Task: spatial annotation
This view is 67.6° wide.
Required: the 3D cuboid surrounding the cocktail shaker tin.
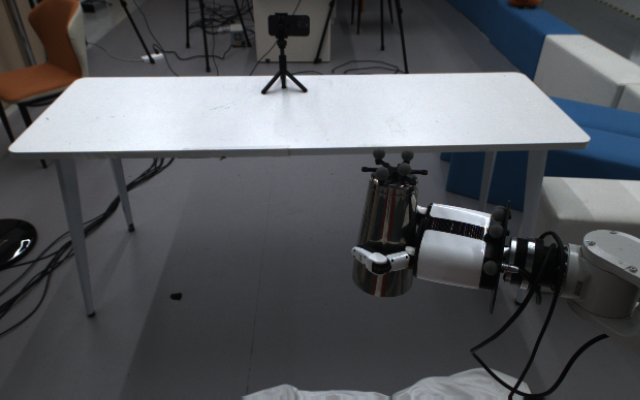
[{"bbox_3d":[0.099,0.042,0.696,0.093,0.170,0.093,2,28,-1],"label":"cocktail shaker tin"}]
